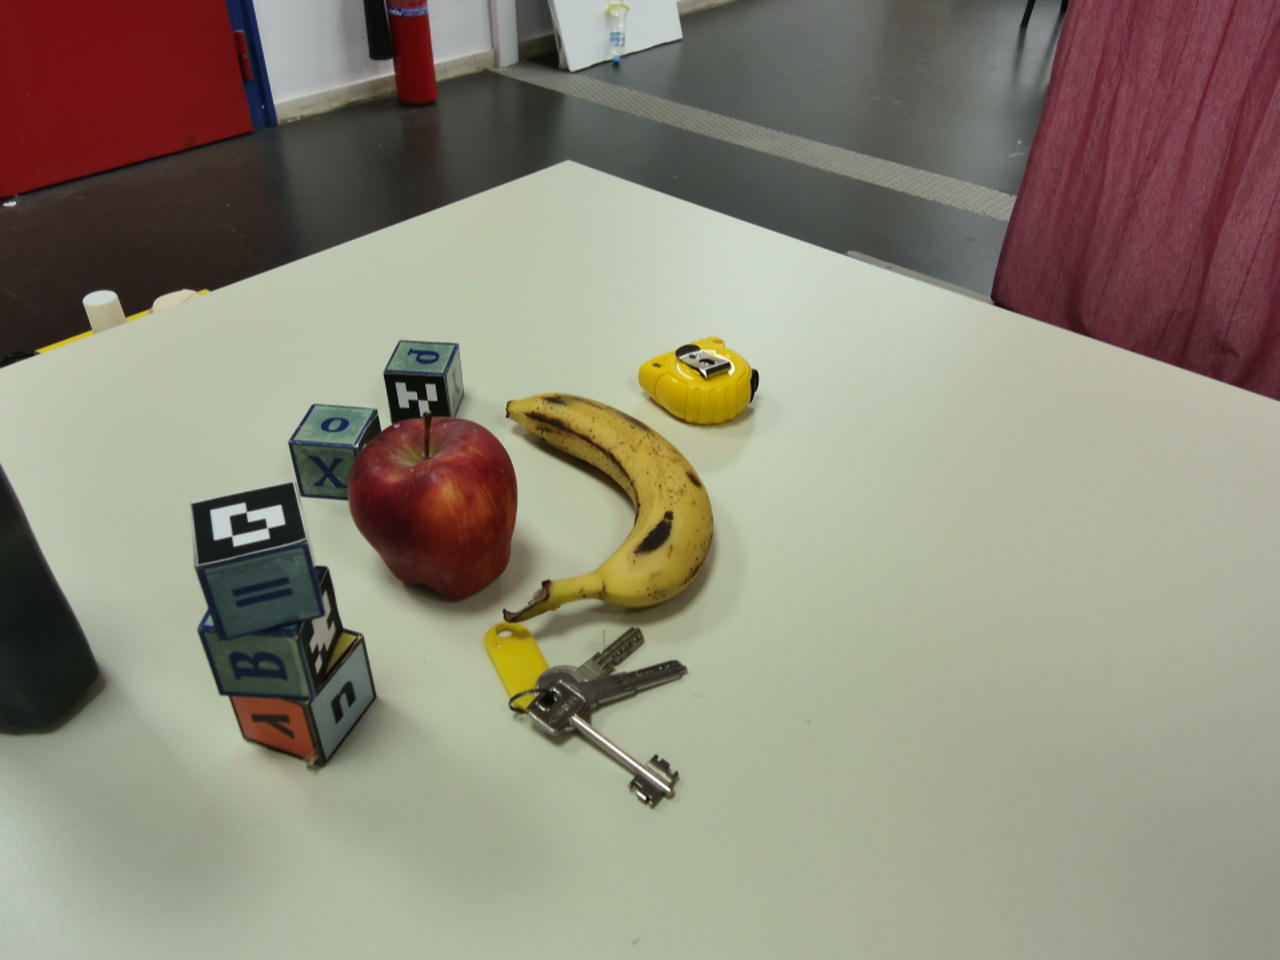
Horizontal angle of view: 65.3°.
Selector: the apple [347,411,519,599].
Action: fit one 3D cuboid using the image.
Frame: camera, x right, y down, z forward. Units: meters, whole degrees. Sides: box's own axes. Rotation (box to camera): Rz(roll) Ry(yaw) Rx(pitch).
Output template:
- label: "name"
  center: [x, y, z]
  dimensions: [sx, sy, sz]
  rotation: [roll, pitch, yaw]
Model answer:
- label: "apple"
  center: [-0.098, 0.008, 0.477]
  dimensions: [0.083, 0.090, 0.083]
  rotation: [1, 37, -1]
